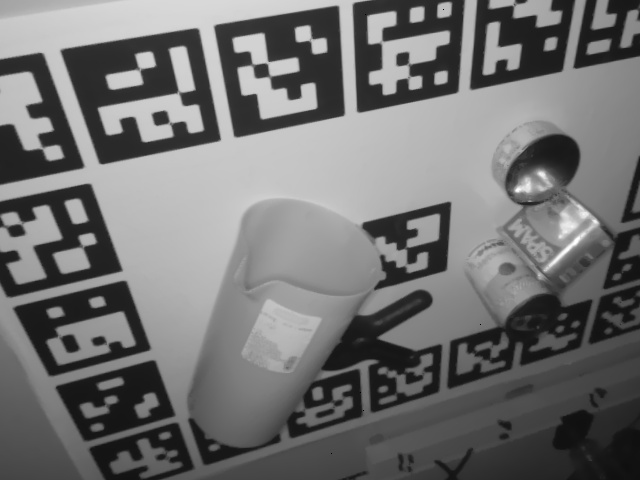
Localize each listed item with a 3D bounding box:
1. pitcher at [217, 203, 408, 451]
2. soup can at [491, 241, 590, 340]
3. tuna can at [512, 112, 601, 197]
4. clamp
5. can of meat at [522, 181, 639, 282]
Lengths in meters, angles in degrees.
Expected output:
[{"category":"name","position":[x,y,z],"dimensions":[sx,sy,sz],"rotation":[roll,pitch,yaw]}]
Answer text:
[{"category":"pitcher","position":[-0.015,0.091,0.687],"dimensions":[0.192,0.133,0.239],"rotation":[-12,137,-39]},{"category":"soup can","position":[0.245,0.054,0.781],"dimensions":[0.068,0.102,0.067],"rotation":[-10,124,-15]},{"category":"tuna can","position":[0.245,-0.090,0.724],"dimensions":[0.086,0.034,0.085],"rotation":[-9,124,-13]},{"category":"clamp","position":[0.090,0.117,0.820],"dimensions":[0.166,0.036,0.121],"rotation":[-11,130,-8]},{"category":"can of meat","position":[0.283,-0.010,0.746],"dimensions":[0.083,0.102,0.058],"rotation":[-46,124,10]}]
